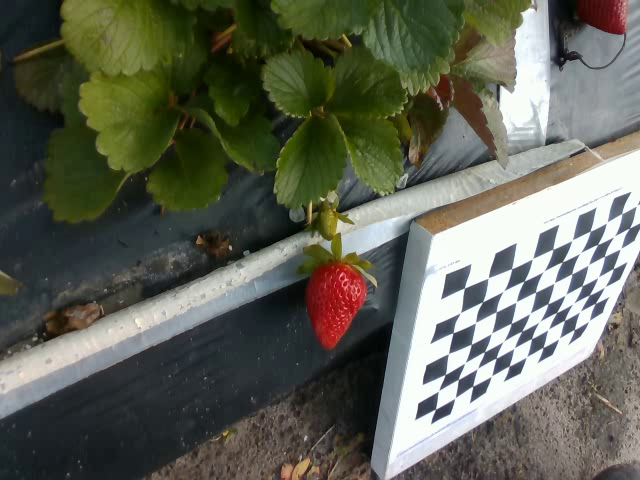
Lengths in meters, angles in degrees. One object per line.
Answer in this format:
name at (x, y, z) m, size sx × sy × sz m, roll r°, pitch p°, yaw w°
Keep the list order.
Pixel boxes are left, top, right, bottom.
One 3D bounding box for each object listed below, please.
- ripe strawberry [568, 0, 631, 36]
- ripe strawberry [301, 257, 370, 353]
ripe strawberry at (0.187, -0.150, 0.399) m, size 0.037 × 0.048 × 0.030 m, roll -7°, pitch -17°, yaw -36°
ripe strawberry at (0.008, 0.034, 0.327) m, size 0.030 × 0.053 × 0.047 m, roll 11°, pitch -7°, yaw 41°
